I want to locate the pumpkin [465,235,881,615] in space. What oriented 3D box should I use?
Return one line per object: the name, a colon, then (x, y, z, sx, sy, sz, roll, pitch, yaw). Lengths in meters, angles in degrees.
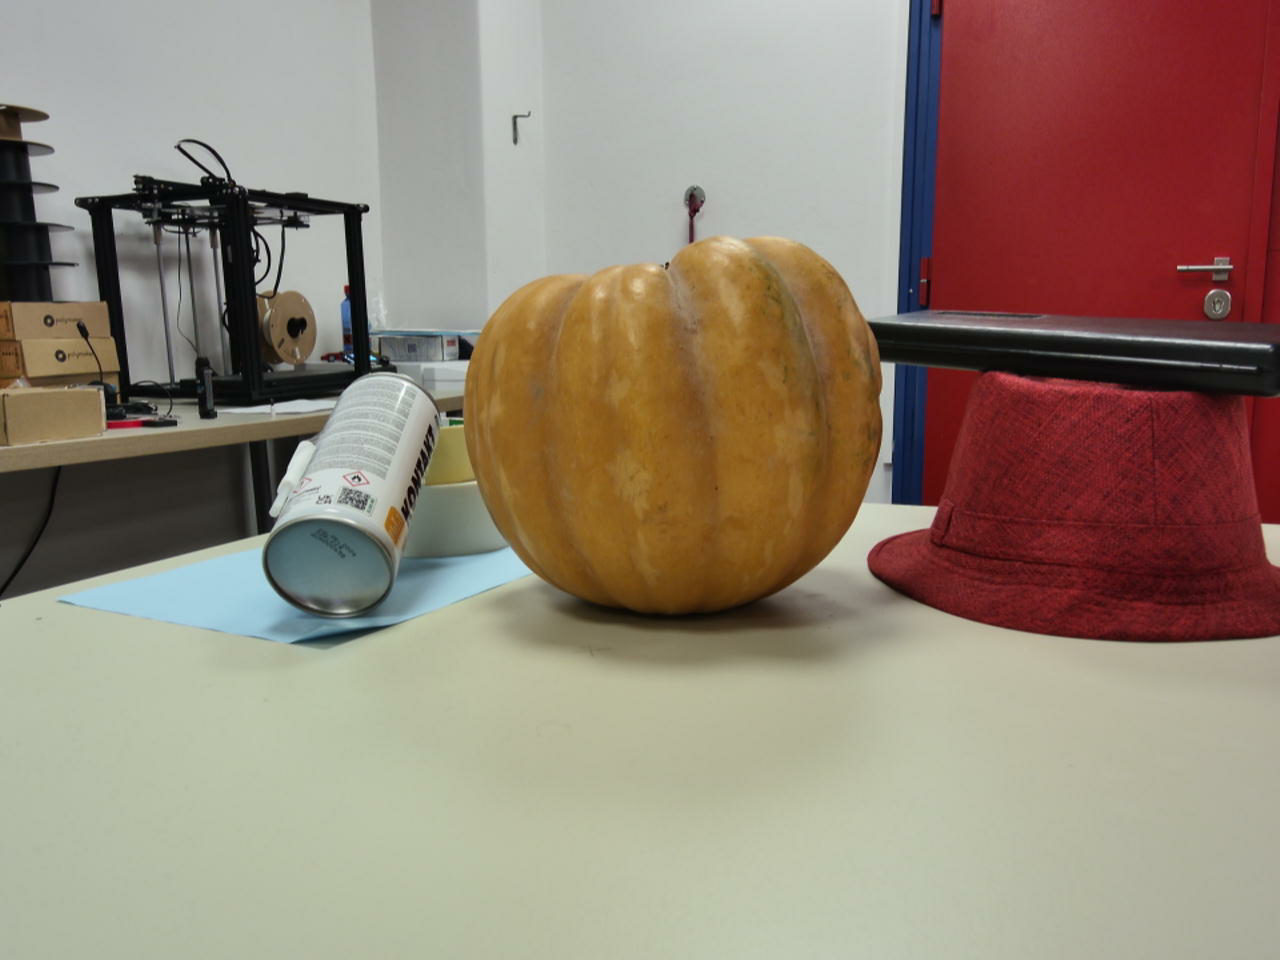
pumpkin: (0.020, -0.029, 0.541, 0.230, 0.194, 0.230, 1, 6, 0)
